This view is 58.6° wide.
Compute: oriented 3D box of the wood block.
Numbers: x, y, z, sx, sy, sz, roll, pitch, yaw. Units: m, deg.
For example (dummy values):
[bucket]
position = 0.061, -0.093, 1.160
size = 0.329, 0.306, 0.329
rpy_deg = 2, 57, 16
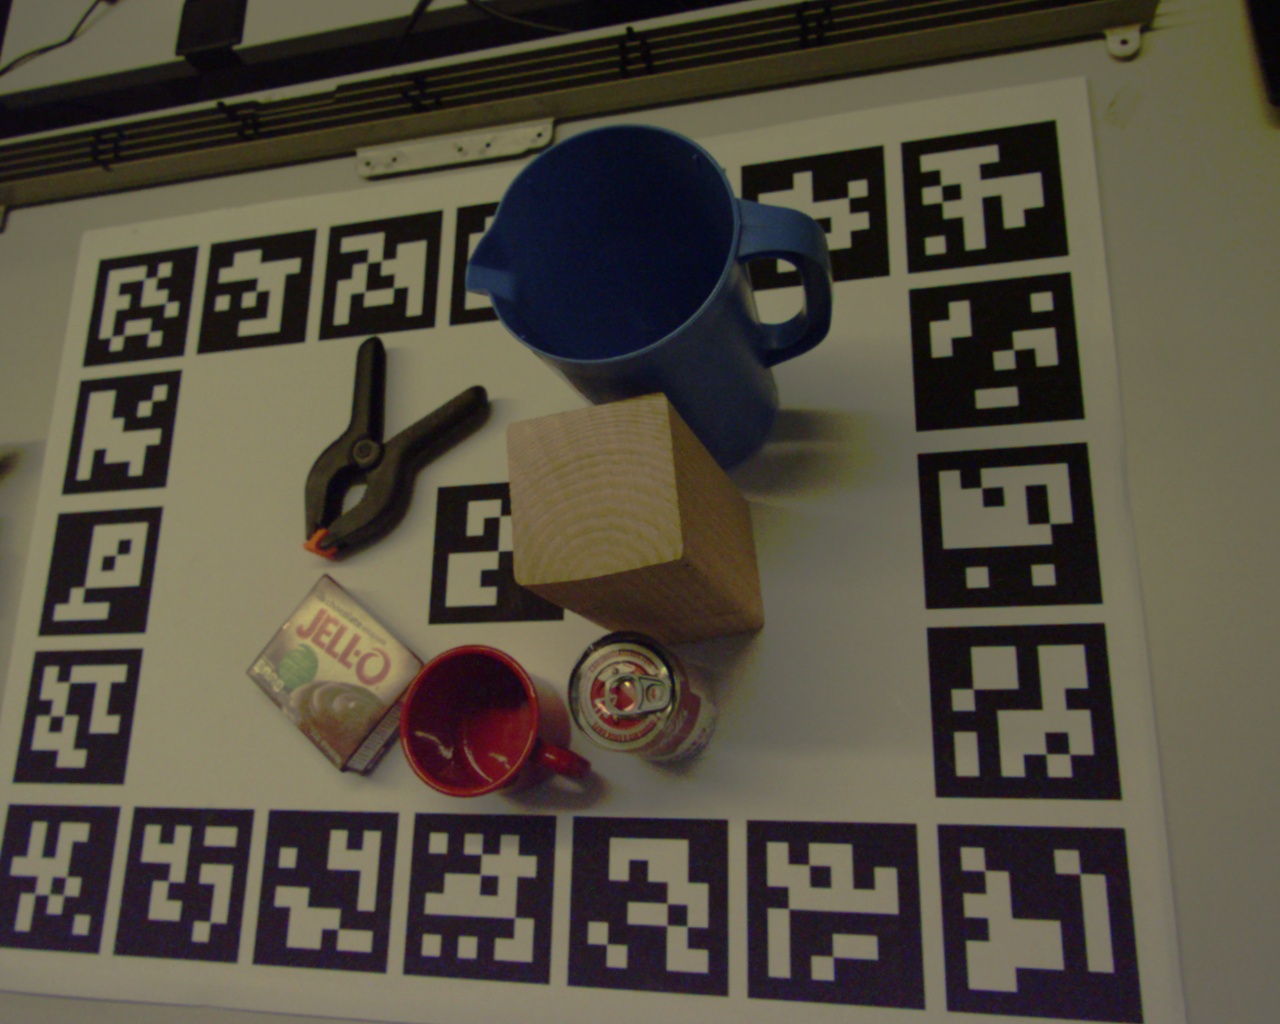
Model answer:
[wood block]
position = -0.004, 0.018, 0.691
size = 0.090, 0.204, 0.091
rpy_deg = -5, 72, 12

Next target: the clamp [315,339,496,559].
[clamp]
position = -0.197, -0.039, 0.872
size = 0.123, 0.036, 0.165
rpy_deg = 27, 84, 16

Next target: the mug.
[mug]
position = -0.094, 0.147, 0.751
size = 0.118, 0.081, 0.093
rpy_deg = 34, 84, 24

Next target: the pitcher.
[pitcher]
position = 0.018, -0.105, 0.703
size = 0.190, 0.240, 0.133
rpy_deg = -5, 71, 19

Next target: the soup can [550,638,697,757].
[soup can]
position = -0.008, 0.119, 0.719
size = 0.068, 0.101, 0.068
rpy_deg = -4, 75, 16

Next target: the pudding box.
[pudding box]
position = -0.223, 0.115, 0.829
size = 0.115, 0.038, 0.090
rpy_deg = 36, 90, 24
